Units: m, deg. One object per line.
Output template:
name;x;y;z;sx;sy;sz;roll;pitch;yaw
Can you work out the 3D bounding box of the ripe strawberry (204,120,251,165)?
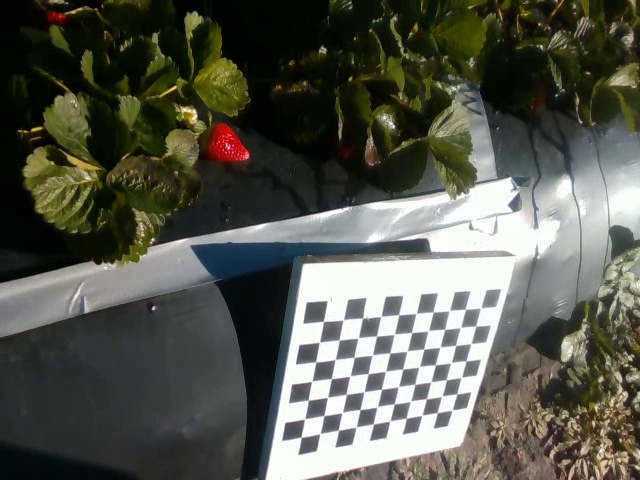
ripe strawberry;-0.095;-0.094;0.641;0.058;0.045;0.042;32;2;-17
